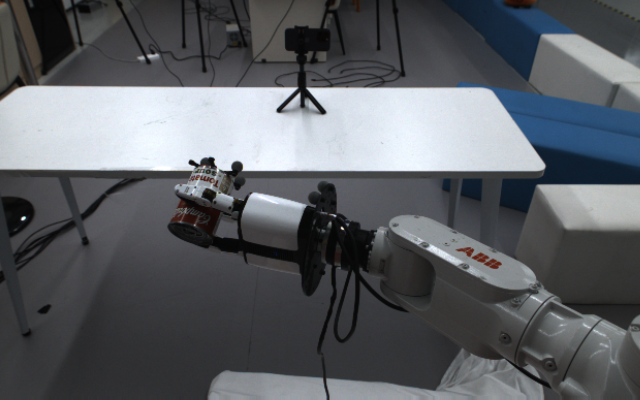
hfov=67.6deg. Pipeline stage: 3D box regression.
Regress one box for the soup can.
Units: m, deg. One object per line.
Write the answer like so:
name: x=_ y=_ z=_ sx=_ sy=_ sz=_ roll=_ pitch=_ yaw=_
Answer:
soup can: x=-0.176 y=0.009 z=0.722 sx=0.067 sy=0.067 sz=0.101 roll=9 pitch=60 yaw=10
